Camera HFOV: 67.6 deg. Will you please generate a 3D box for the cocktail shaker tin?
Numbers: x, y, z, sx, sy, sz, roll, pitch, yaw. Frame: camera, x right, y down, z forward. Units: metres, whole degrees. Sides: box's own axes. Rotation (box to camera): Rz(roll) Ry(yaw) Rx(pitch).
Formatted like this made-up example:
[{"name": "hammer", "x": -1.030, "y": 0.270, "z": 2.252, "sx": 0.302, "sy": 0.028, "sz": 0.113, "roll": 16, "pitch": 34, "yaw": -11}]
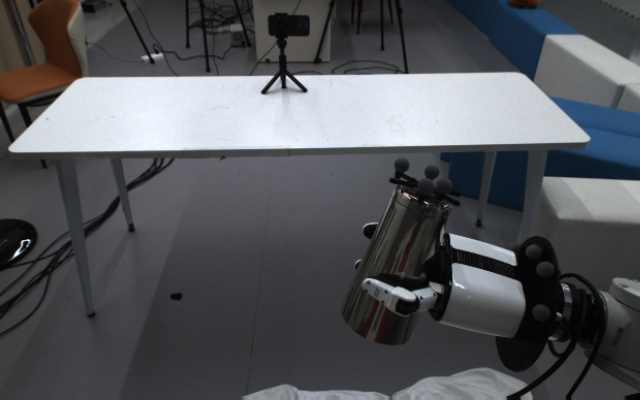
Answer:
[{"name": "cocktail shaker tin", "x": 0.094, "y": 0.070, "z": 0.565, "sx": 0.093, "sy": 0.170, "sz": 0.093, "roll": 14, "pitch": 19, "yaw": -5}]
